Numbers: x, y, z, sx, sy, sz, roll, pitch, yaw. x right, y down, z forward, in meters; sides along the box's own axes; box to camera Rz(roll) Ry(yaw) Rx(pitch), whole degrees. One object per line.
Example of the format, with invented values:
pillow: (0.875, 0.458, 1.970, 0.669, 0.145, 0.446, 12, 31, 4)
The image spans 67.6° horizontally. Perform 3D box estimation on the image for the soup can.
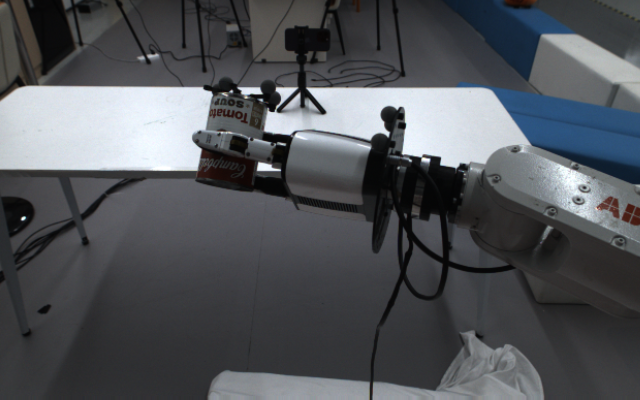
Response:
soup can: (-0.101, -0.065, 0.563, 0.067, 0.101, 0.067, 9, -5, 1)
